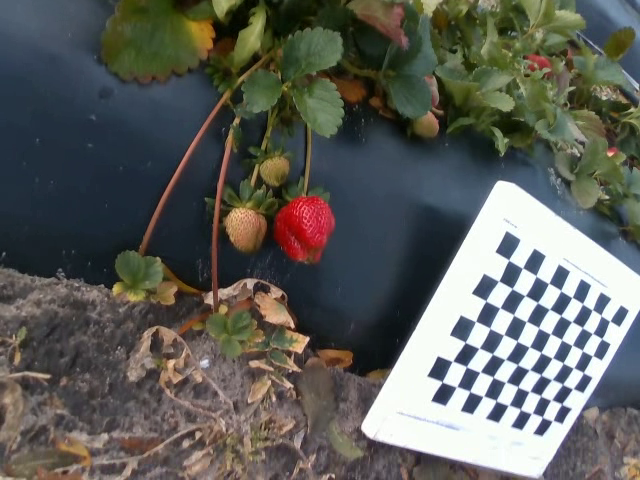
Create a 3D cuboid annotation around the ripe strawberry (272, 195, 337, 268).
[{"bbox_3d":[-0.009,-0.009,0.443,0.066,0.075,0.052,4,15,-29],"label":"ripe strawberry"}]
